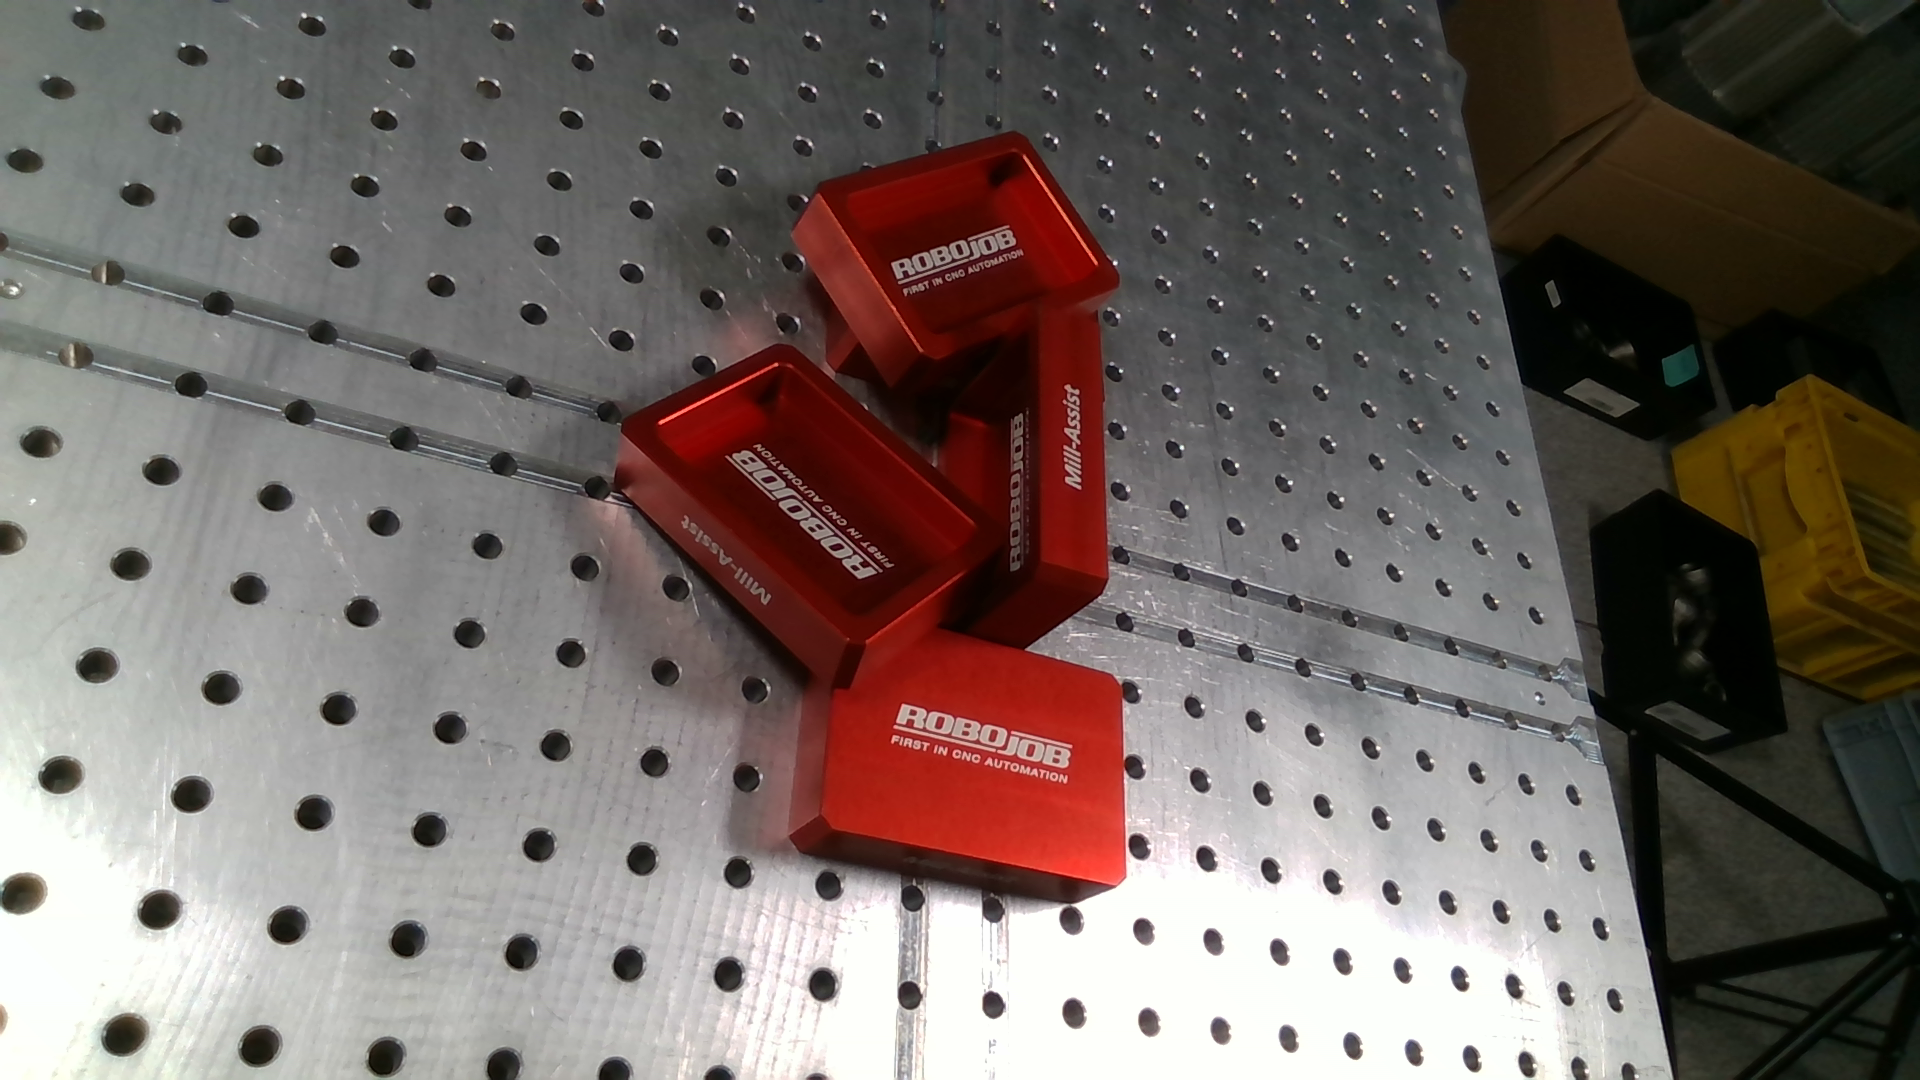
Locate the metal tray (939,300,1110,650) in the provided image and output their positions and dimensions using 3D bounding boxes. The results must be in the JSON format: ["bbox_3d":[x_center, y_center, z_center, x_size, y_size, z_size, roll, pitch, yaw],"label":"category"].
[{"bbox_3d":[0.023,-0.022,0.572,0.030,0.090,0.130,16,58,-24],"label":"metal tray"}]

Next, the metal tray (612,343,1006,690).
[{"bbox_3d":[-0.058,-0.013,0.533,0.130,0.030,0.090,41,49,16],"label":"metal tray"}]

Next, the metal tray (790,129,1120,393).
[{"bbox_3d":[0.001,-0.127,0.614,0.130,0.030,0.090,-28,82,-38],"label":"metal tray"}]

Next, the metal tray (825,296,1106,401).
[{"bbox_3d":[0.003,-0.108,0.646,0.130,0.030,0.090,13,59,-25],"label":"metal tray"}]

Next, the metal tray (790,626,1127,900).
[{"bbox_3d":[0.003,0.085,0.541,0.130,0.030,0.090,17,58,-23],"label":"metal tray"}]
